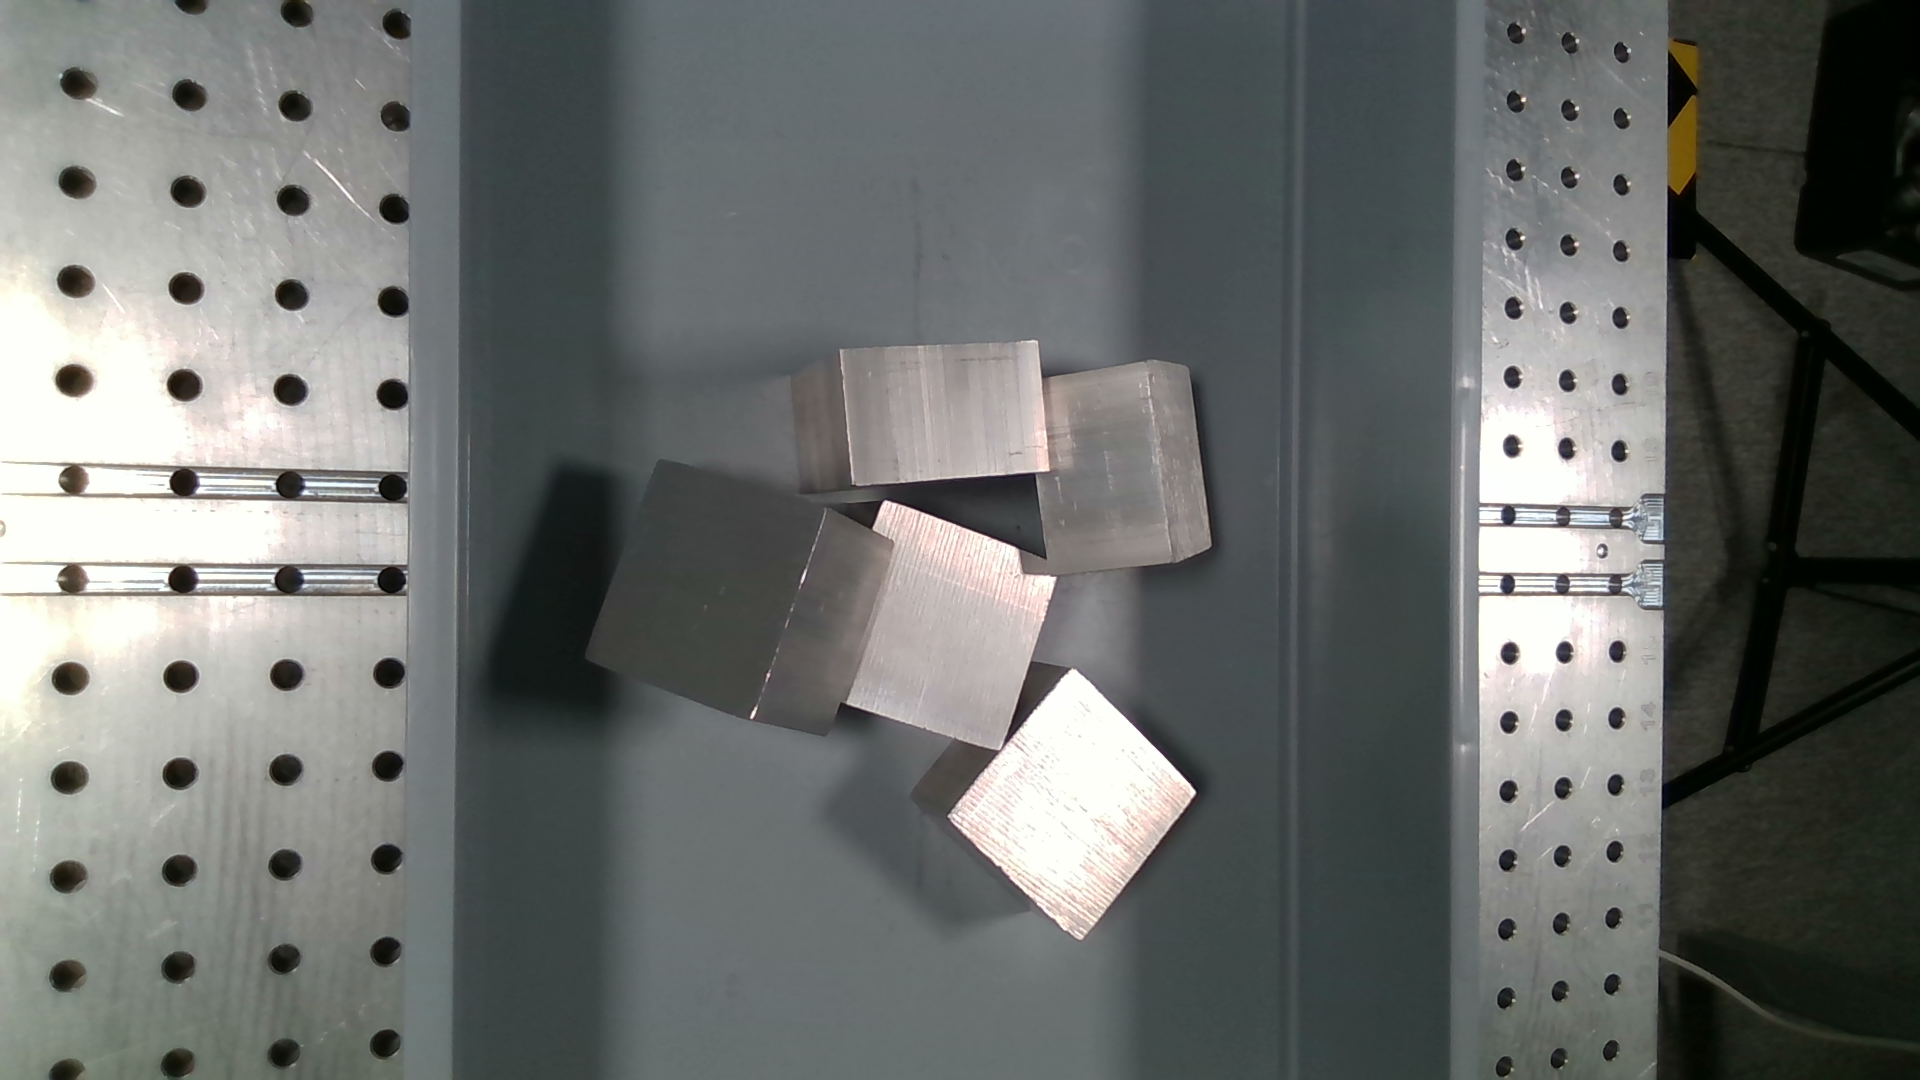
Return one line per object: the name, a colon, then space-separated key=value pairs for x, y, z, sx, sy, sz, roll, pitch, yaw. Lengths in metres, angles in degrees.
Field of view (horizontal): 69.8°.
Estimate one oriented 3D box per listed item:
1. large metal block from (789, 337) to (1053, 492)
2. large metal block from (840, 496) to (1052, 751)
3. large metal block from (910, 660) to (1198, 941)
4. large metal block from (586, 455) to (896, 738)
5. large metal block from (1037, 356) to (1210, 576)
large metal block: x=-0.018 y=-0.048 z=0.549 sx=0.080 sy=0.080 sz=0.050 roll=-6 pitch=92 yaw=-20
large metal block: x=-0.016 y=0.034 z=0.567 sx=0.080 sy=0.050 sz=0.080 roll=20 pitch=83 yaw=-19
large metal block: x=0.039 y=0.108 z=0.586 sx=0.080 sy=0.050 sz=0.080 roll=45 pitch=76 yaw=-15
large metal block: x=-0.082 y=0.021 z=0.519 sx=0.050 sy=0.080 sz=0.080 roll=29 pitch=79 yaw=-61
large metal block: x=0.068 y=-0.031 z=0.574 sx=0.050 sy=0.080 sz=0.080 roll=-7 pitch=92 yaw=22
